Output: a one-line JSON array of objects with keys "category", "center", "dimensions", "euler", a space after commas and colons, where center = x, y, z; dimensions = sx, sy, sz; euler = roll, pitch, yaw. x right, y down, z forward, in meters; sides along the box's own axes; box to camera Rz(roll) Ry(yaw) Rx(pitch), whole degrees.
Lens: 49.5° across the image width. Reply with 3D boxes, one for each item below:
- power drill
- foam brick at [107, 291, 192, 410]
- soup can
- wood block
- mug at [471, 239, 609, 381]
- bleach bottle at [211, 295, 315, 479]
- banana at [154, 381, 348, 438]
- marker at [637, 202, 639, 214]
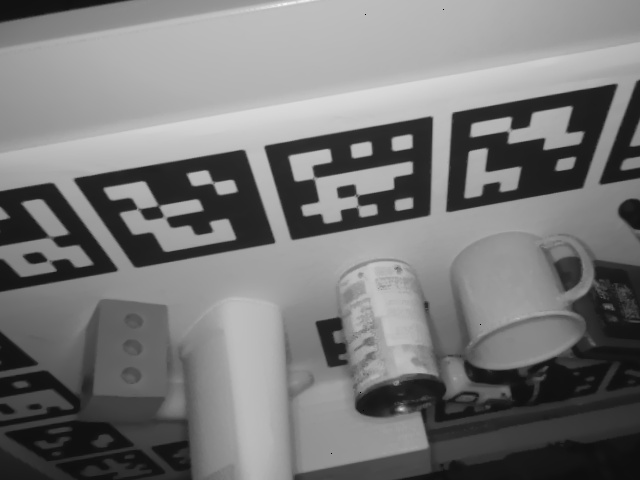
[{"category": "power drill", "center": [0.241, 0.114, 0.675], "dimensions": [0.186, 0.058, 0.184], "euler": [12, 138, -19]}, {"category": "foam brick", "center": [-0.133, 0.088, 0.547], "dimensions": [0.053, 0.078, 0.050], "euler": [12, 139, -26]}, {"category": "soup can", "center": [0.072, 0.079, 0.545], "dimensions": [0.068, 0.102, 0.067], "euler": [-5, 145, -2]}, {"category": "wood block", "center": [0.022, 0.217, 0.726], "dimensions": [0.206, 0.091, 0.089], "euler": [-10, 140, 2]}, {"category": "mug", "center": [0.176, 0.046, 0.550], "dimensions": [0.094, 0.082, 0.115], "euler": [22, 129, -30]}, {"category": "bleach bottle", "center": [-0.040, 0.171, 0.527], "dimensions": [0.068, 0.252, 0.101], "euler": [10, 139, -21]}, {"category": "banana", "center": [-0.072, 0.160, 0.672], "dimensions": [0.199, 0.039, 0.073], "euler": [2, 126, -10]}, {"category": "marker", "center": [0.287, -0.001, 0.569], "dimensions": [0.019, 0.020, 0.122], "euler": [-32, 135, 23]}]
